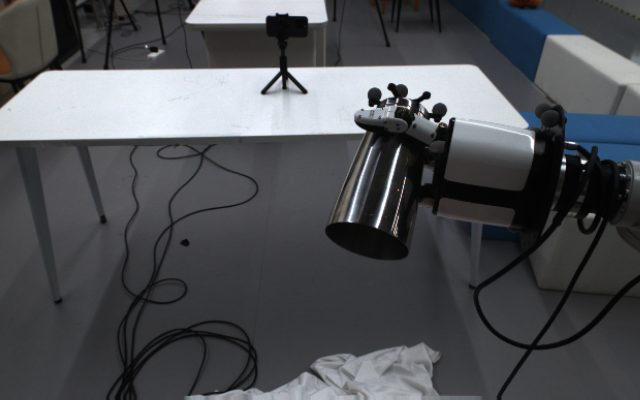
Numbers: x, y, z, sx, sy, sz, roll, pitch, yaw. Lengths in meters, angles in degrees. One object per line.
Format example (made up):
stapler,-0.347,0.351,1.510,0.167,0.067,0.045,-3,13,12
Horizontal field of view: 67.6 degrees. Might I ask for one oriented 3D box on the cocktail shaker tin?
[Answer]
cocktail shaker tin,0.076,-0.032,0.543,0.093,0.093,0.170,13,65,15
